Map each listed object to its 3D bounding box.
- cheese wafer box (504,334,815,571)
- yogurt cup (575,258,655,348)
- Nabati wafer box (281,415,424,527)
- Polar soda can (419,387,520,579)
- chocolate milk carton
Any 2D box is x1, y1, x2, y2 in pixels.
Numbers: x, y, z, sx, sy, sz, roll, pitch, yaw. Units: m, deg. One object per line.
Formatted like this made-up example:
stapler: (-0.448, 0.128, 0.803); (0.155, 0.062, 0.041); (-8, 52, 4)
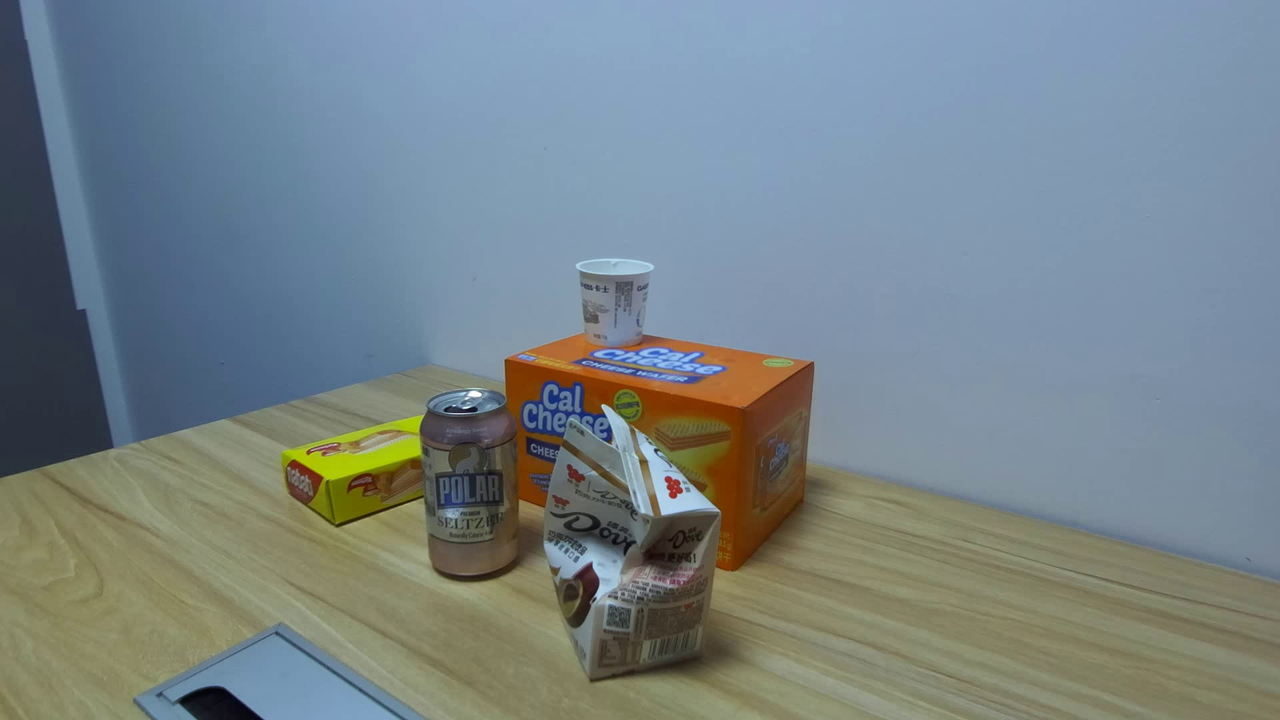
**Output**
cheese wafer box: (0.017, 0.060, 0.603); (0.221, 0.129, 0.149); (11, 19, 31)
yogurt cup: (-0.023, -0.052, 0.641); (0.072, 0.068, 0.072); (1, 18, 0)
Nabati wafer box: (-0.208, 0.088, 0.654); (0.096, 0.042, 0.204); (14, 20, 43)
Polar soda can: (-0.122, 0.088, 0.510); (0.067, 0.125, 0.067); (1, 15, 0)
chocolate milk carton: (-0.007, 0.106, 0.411); (0.077, 0.155, 0.089); (-10, 32, -21)
